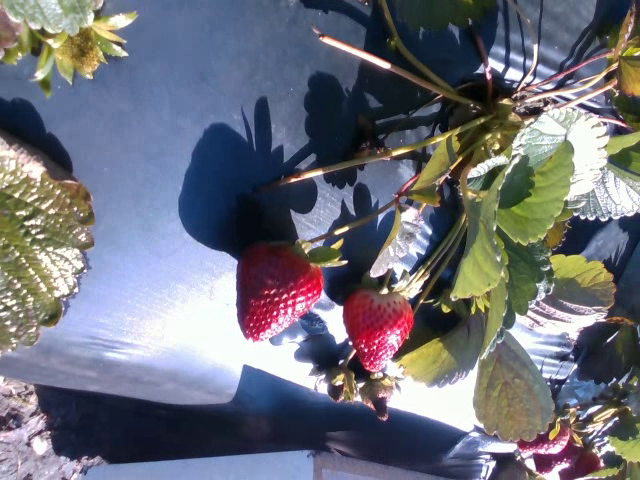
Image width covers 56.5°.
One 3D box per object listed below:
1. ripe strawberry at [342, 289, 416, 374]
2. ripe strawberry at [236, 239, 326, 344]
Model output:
[{"bbox_3d":[0.030,0.049,0.311,0.042,0.049,0.039,7,1,0],"label":"ripe strawberry"},{"bbox_3d":[-0.023,0.026,0.265,0.044,0.050,0.051,17,-15,33],"label":"ripe strawberry"}]
